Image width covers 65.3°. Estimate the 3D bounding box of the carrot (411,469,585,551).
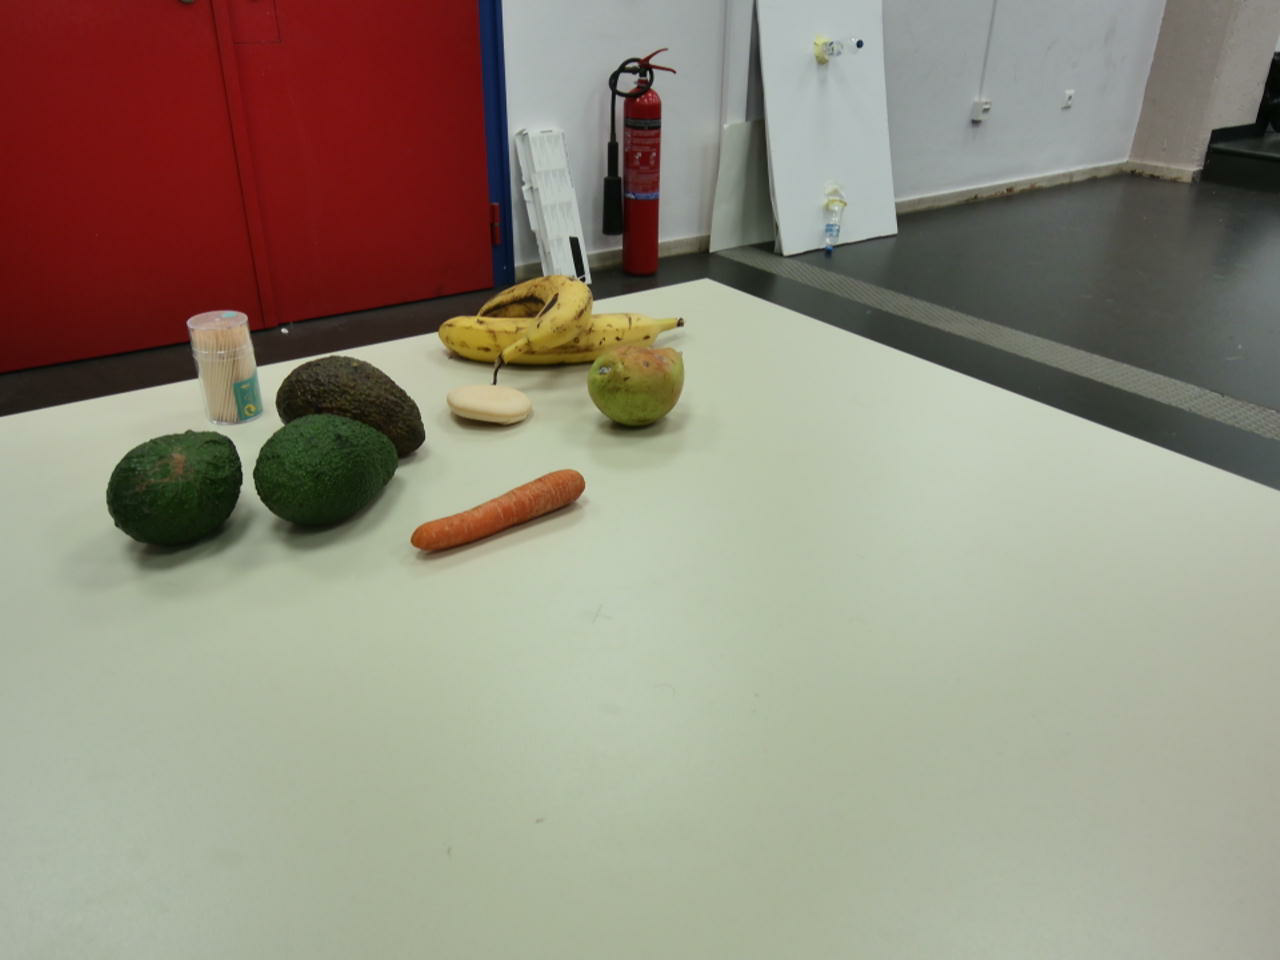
[{"bbox_3d":[-0.085,0.018,0.612,0.122,0.023,0.024,-19,32,-35],"label":"carrot"}]
